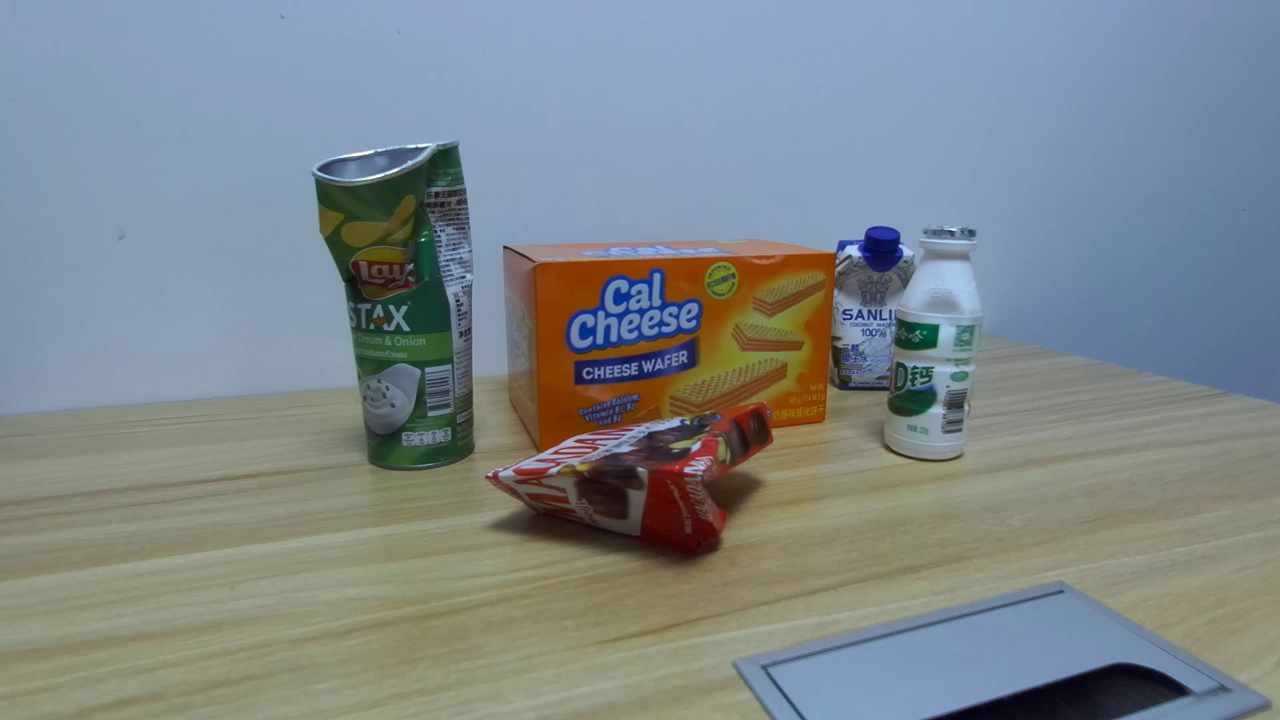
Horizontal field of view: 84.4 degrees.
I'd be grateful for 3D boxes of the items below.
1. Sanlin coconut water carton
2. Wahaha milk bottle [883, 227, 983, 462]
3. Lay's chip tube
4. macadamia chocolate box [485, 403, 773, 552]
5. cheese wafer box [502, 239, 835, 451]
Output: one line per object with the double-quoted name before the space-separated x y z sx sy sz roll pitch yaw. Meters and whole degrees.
"Sanlin coconut water carton" 0.199 -0.045 0.614 0.078 0.142 0.057 0 19 1
"Wahaha milk bottle" 0.191 -0.004 0.457 0.053 0.136 0.053 3 12 0
"Lay's chip tube" -0.144 -0.030 0.437 0.079 0.199 0.071 -2 21 -3
"macadamia chocolate box" 0.002 0.054 0.378 0.111 0.056 0.127 7 15 25
"cheese wafer box" 0.016 -0.021 0.543 0.222 0.129 0.147 -4 15 -19
